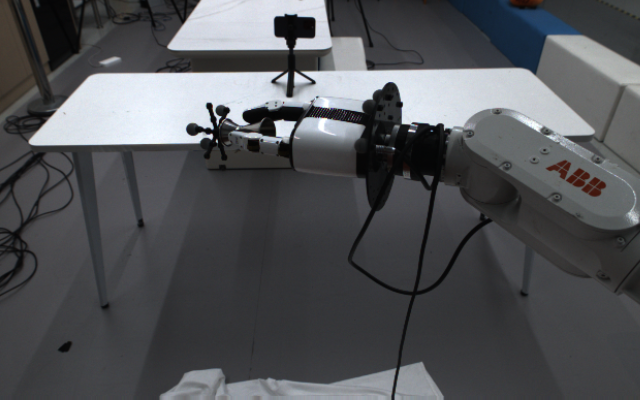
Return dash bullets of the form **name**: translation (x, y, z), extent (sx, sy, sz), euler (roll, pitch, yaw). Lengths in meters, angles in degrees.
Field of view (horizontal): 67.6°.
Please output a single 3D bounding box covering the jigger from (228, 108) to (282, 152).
- **jigger**: translation (-0.094, -0.099, 0.674), extent (0.071, 0.043, 0.043), euler (4, 33, 25)
